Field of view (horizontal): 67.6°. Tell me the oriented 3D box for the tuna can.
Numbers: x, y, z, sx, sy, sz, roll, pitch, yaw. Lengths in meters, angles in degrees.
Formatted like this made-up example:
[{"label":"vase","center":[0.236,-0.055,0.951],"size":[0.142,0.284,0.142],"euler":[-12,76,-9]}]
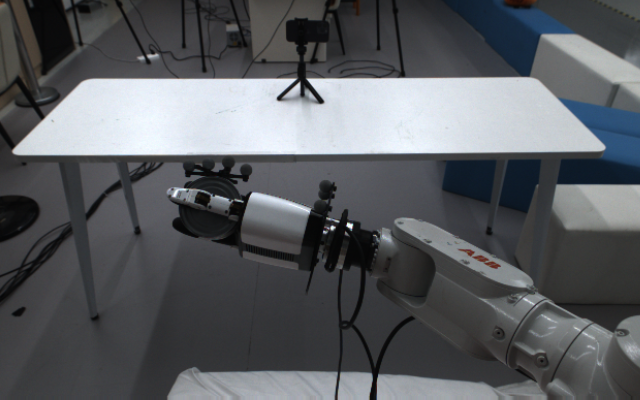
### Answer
[{"label":"tuna can","center":[-0.147,0.013,0.667],"size":[0.085,0.034,0.085],"euler":[0,77,-2]}]
